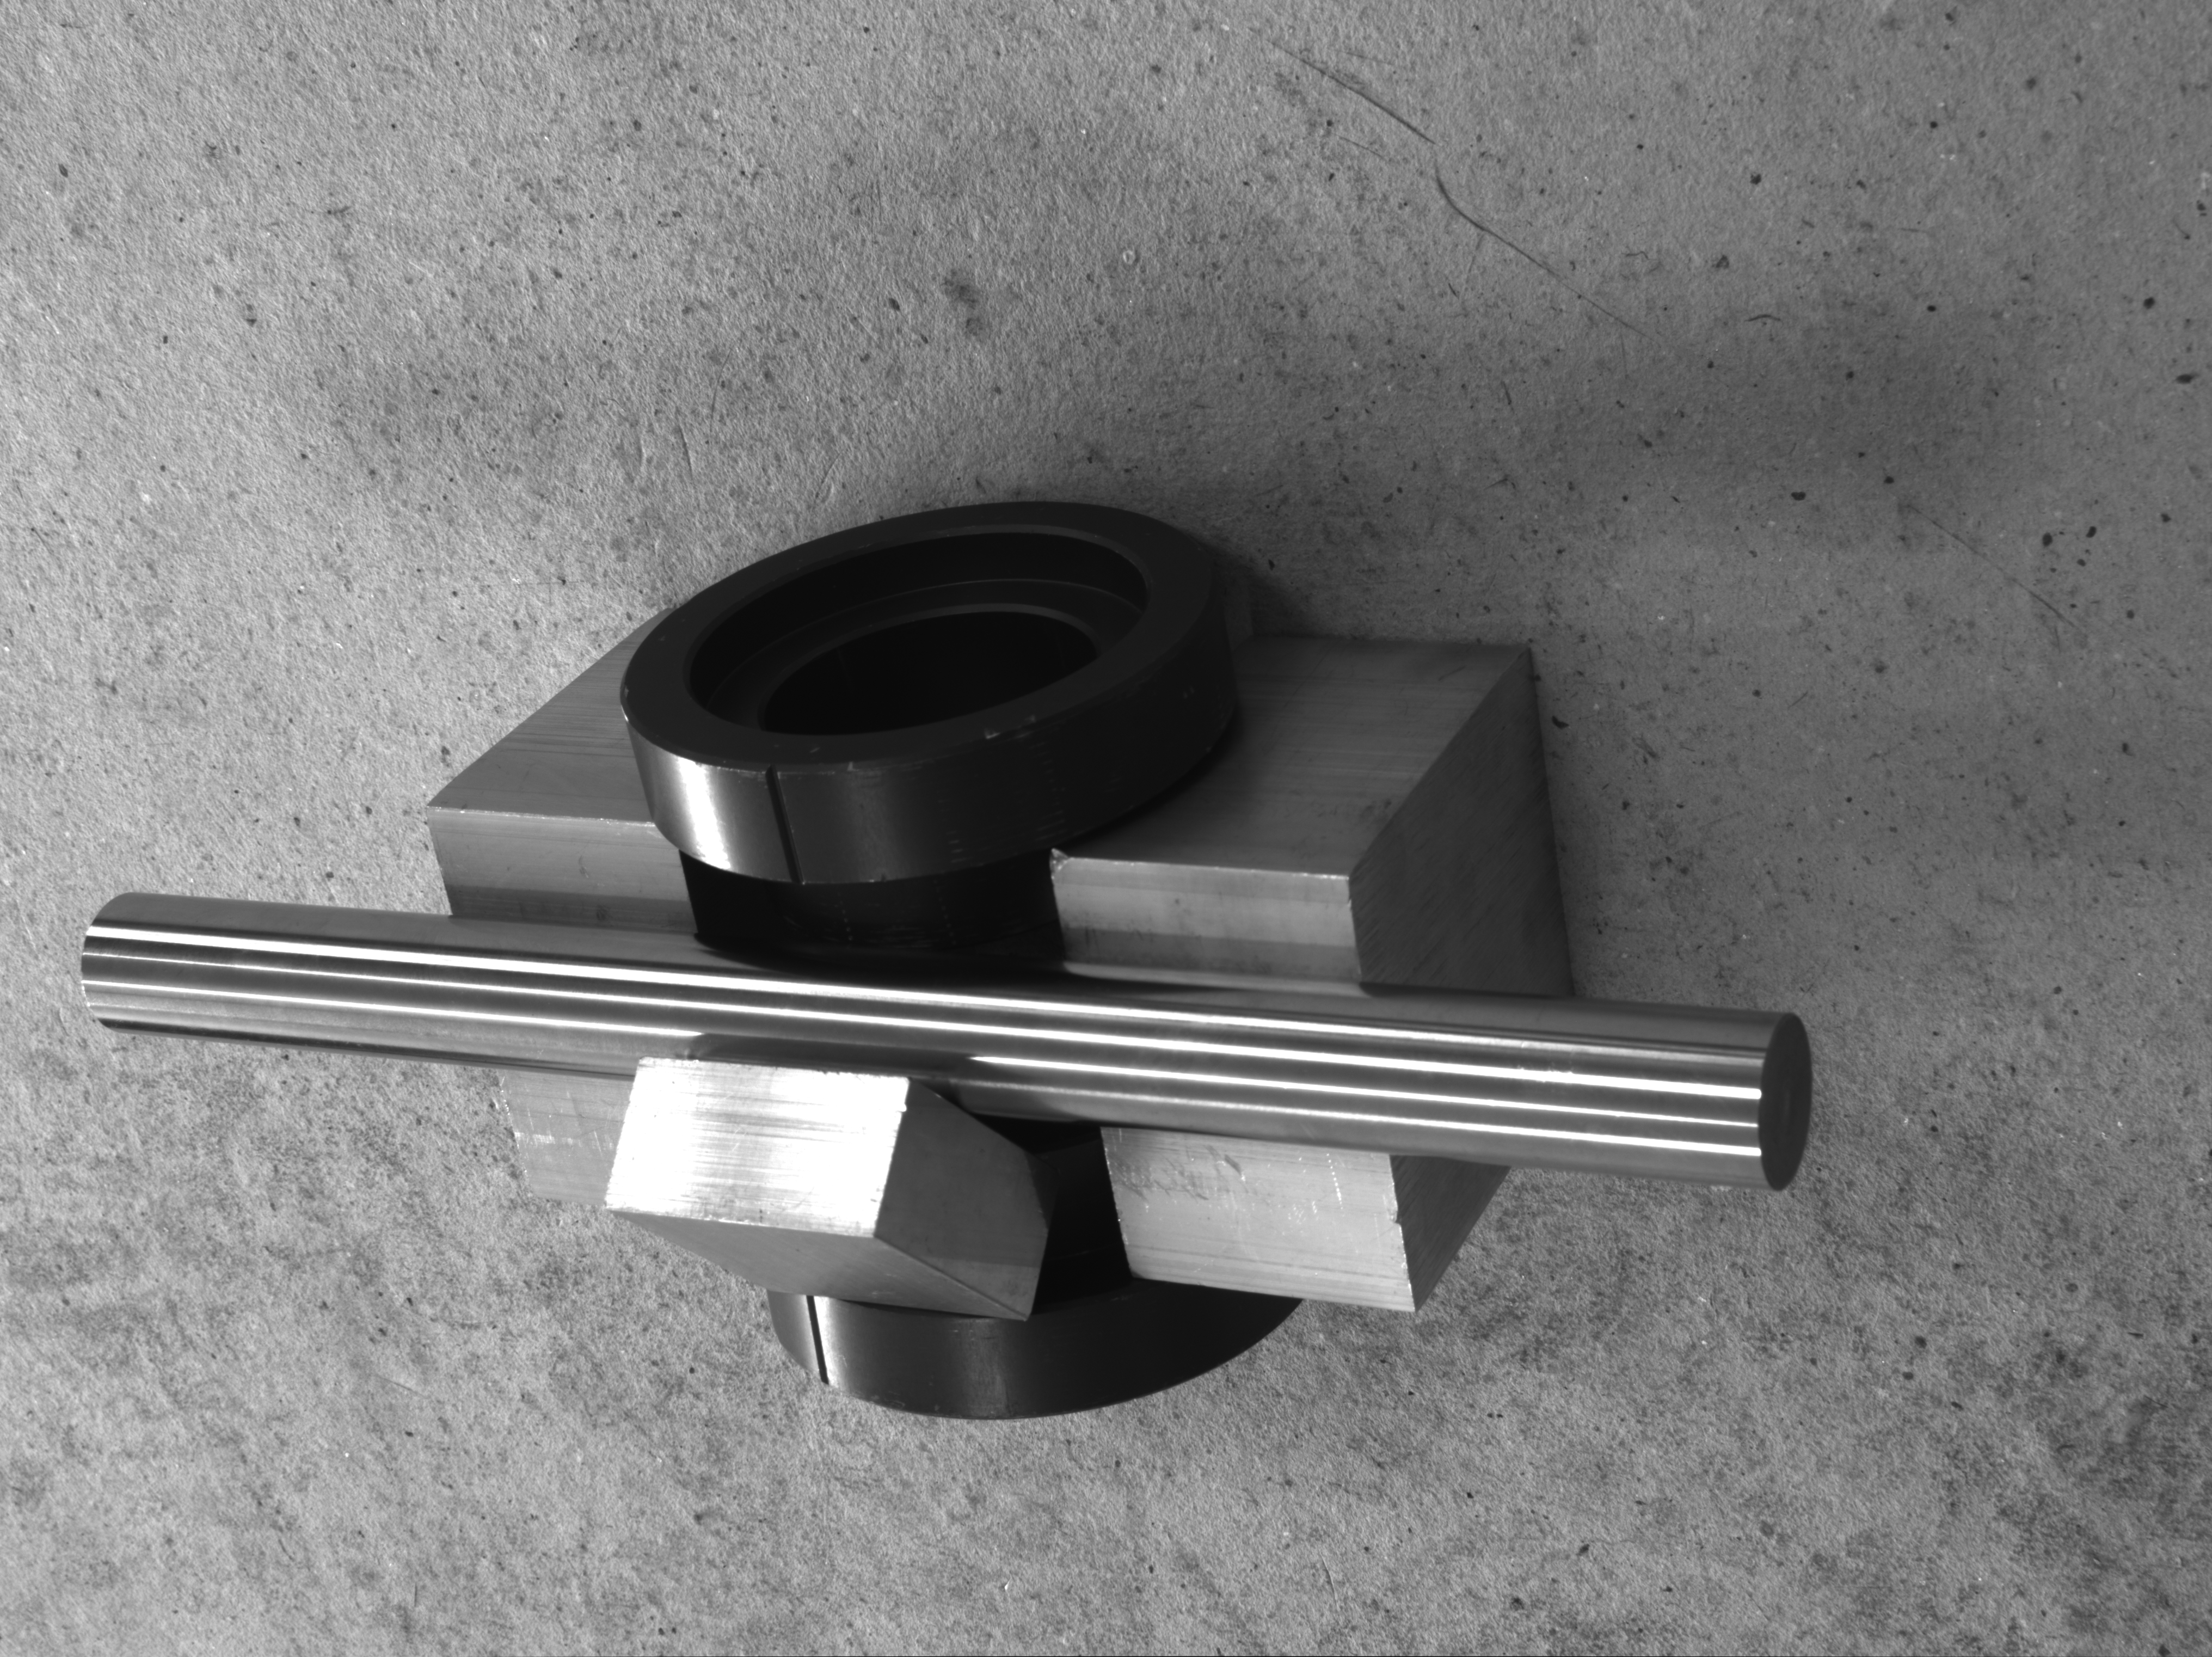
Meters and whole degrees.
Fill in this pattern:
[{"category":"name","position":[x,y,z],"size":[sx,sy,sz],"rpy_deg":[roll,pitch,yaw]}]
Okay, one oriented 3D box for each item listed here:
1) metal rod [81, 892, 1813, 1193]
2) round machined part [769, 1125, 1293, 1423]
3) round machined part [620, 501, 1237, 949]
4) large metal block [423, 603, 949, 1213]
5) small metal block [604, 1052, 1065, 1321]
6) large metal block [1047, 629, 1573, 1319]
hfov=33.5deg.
[{"category":"metal rod","position":[-0.038,0.031,0.580],"size":[0.299,0.025,0.025],"rpy_deg":[3,120,27]},{"category":"round machined part","position":[-0.013,0.059,0.639],"size":[0.098,0.098,0.042],"rpy_deg":[4,115,26]},{"category":"round machined part","position":[-0.027,-0.014,0.602],"size":[0.098,0.098,0.042],"rpy_deg":[4,121,27]},{"category":"large metal block","position":[-0.069,0.014,0.654],"size":[0.050,0.080,0.080],"rpy_deg":[4,120,26]},{"category":"small metal block","position":[-0.042,0.057,0.580],"size":[0.050,0.025,0.050],"rpy_deg":[3,160,29]},{"category":"large metal block","position":[0.037,0.022,0.601],"size":[0.050,0.080,0.080],"rpy_deg":[4,120,27]}]
